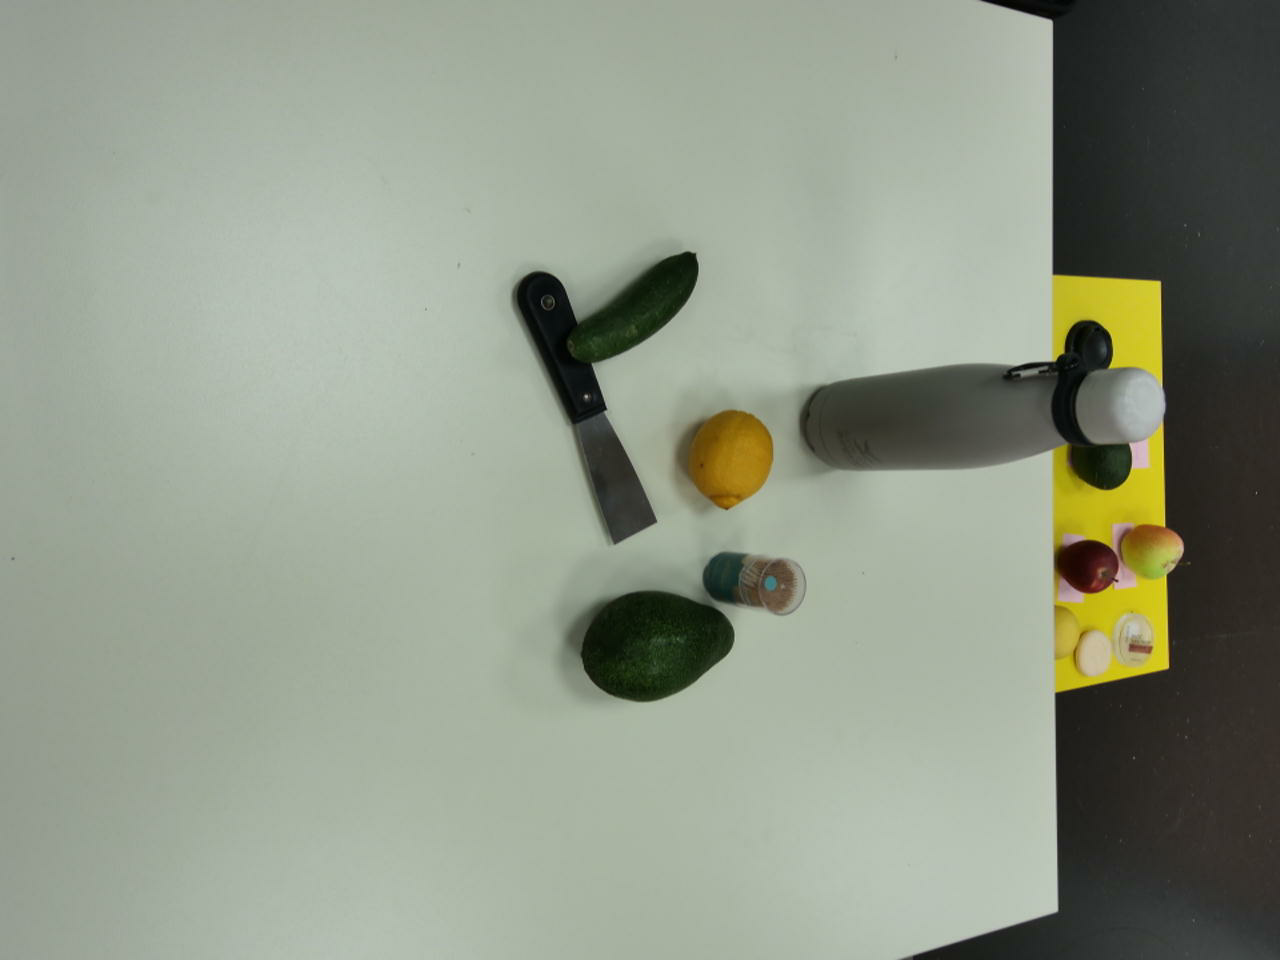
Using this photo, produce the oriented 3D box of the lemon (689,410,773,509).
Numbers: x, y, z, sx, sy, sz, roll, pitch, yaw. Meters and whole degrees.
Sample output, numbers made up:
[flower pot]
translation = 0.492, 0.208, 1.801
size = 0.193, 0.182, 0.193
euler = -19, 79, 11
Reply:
[lemon]
translation = 0.065, -0.016, 0.721
size = 0.061, 0.059, 0.066
euler = 44, 70, -21
